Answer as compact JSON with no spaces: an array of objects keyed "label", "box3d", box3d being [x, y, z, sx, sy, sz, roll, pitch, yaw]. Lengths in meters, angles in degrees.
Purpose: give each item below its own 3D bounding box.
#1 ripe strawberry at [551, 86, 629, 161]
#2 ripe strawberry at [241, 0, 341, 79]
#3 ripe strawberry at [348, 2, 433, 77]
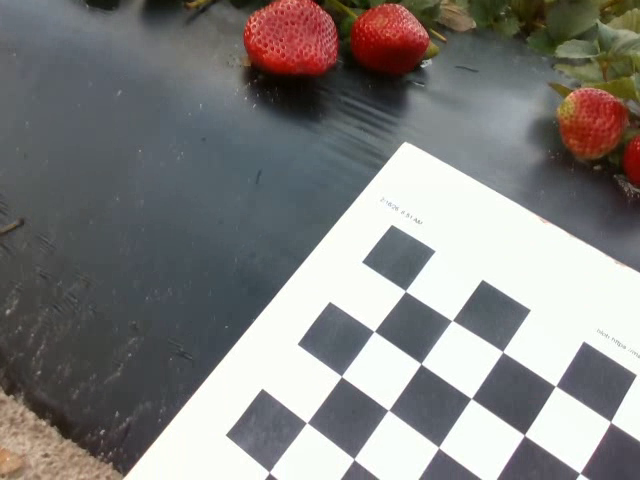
[{"label":"ripe strawberry","box3d":[0.146,-0.065,0.330,0.053,0.047,0.038,22,-17,-20]},{"label":"ripe strawberry","box3d":[-0.015,-0.110,0.338,0.058,0.065,0.044,-26,-41,0]},{"label":"ripe strawberry","box3d":[0.043,-0.123,0.366,0.050,0.051,0.060,-31,18,-2]}]
